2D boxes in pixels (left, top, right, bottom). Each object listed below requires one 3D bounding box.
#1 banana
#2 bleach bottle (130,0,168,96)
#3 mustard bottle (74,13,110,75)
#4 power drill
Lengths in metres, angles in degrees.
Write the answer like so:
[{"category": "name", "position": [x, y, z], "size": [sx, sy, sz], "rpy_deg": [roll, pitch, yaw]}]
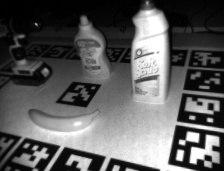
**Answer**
[{"category": "banana", "position": [-0.129, 0.066, 0.549], "size": [0.196, 0.039, 0.074], "rpy_deg": [0, 43, 18]}, {"category": "bleach bottle", "position": [0.083, -0.088, 0.523], "size": [0.101, 0.253, 0.068], "rpy_deg": [11, 46, 26]}, {"category": "mustard bottle", "position": [-0.067, -0.122, 0.652], "size": [0.095, 0.193, 0.058], "rpy_deg": [1, 42, 13]}, {"category": "power drill", "position": [-0.263, -0.132, 0.664], "size": [0.183, 0.189, 0.057], "rpy_deg": [-2, 41, 19]}]
